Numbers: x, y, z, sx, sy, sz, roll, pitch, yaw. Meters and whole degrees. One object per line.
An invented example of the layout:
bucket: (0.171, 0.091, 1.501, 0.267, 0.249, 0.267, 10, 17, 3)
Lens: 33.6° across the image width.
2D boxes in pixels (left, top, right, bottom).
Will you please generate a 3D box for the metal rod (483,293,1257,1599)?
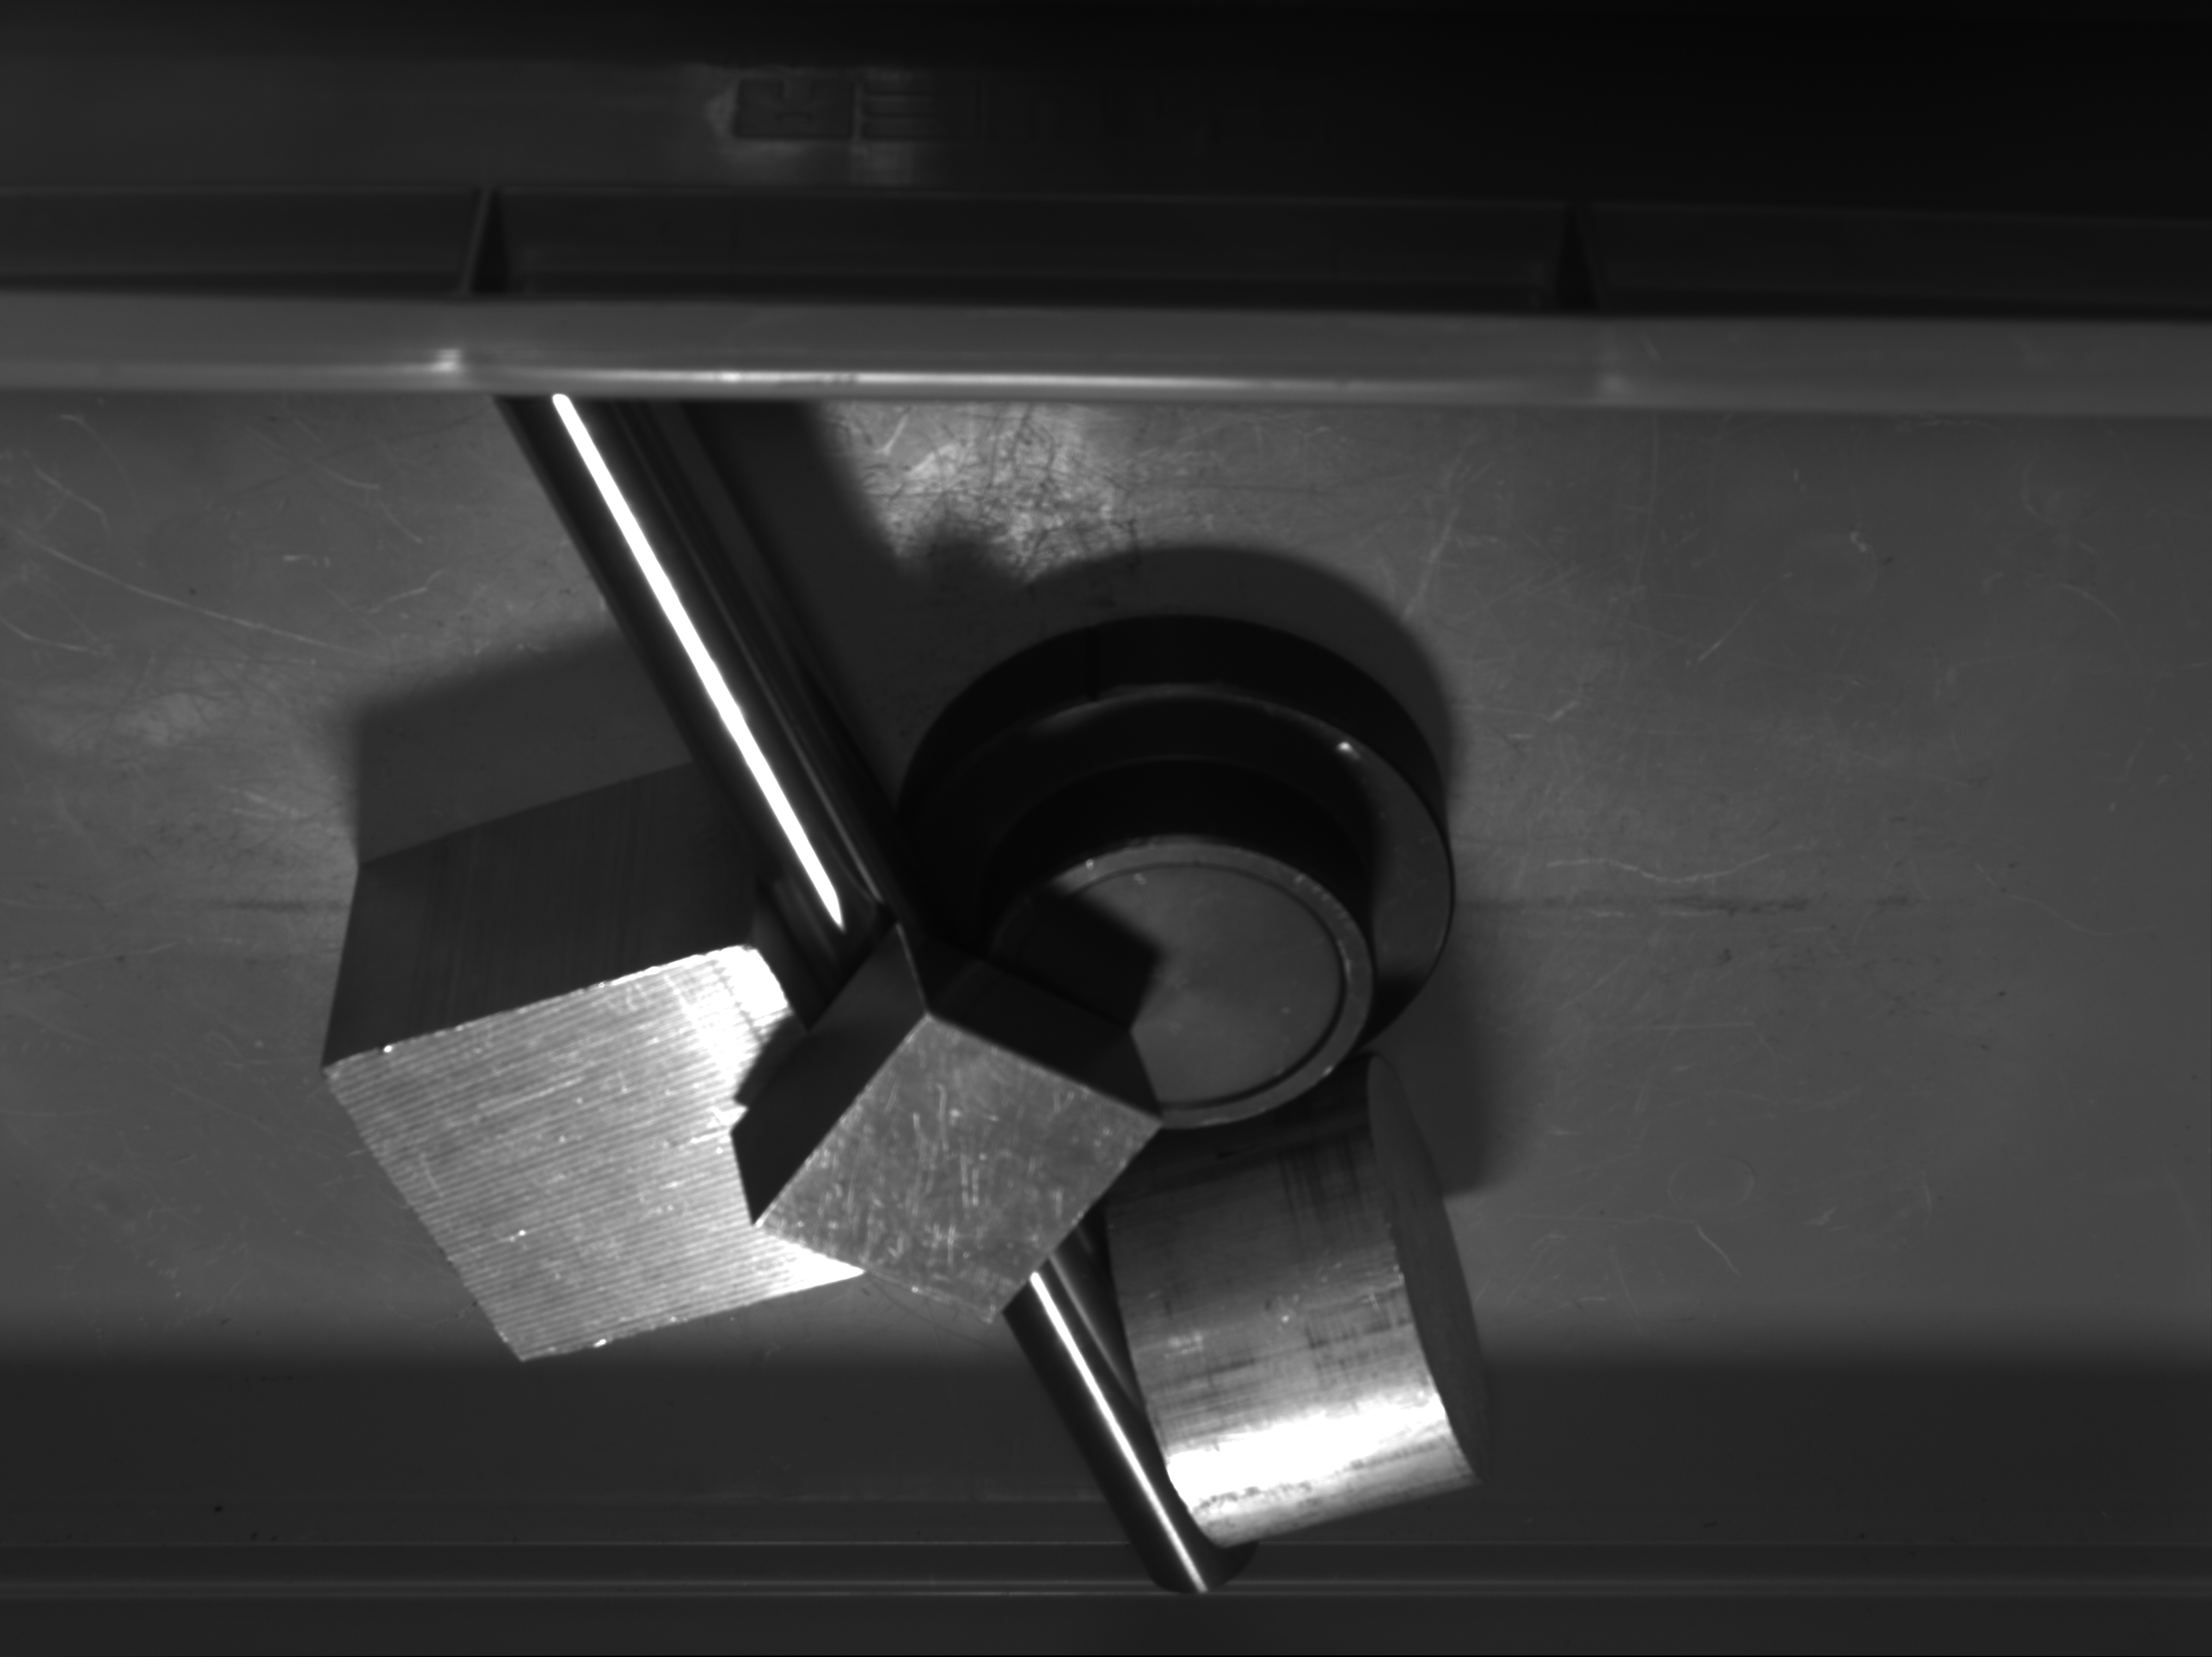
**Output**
metal rod: (-0.031, 0.035, 0.638, 0.025, 0.025, 0.301, -16, 129, 11)

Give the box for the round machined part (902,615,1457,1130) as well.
round machined part: (0.012, 0.014, 0.637, 0.098, 0.042, 0.098, -1, 130, -1)

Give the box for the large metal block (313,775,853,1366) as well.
large metal block: (-0.082, 0.042, 0.650, 0.080, 0.050, 0.080, -16, 129, 11)

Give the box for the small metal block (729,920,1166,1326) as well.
small metal block: (-0.027, 0.050, 0.615, 0.050, 0.025, 0.050, 27, 113, -31)

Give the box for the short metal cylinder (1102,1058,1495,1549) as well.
short metal cylinder: (0.036, 0.088, 0.676, 0.050, 0.080, 0.080, -16, 129, 11)
